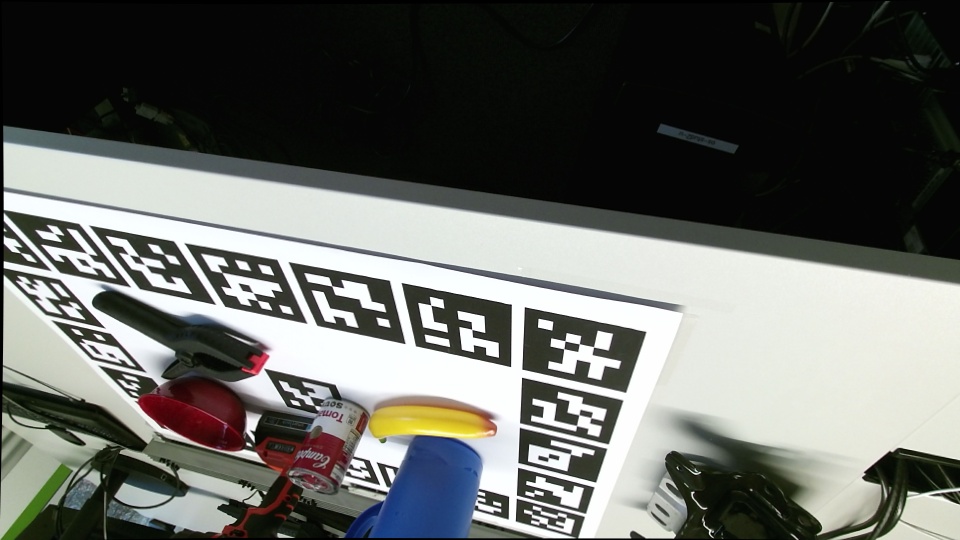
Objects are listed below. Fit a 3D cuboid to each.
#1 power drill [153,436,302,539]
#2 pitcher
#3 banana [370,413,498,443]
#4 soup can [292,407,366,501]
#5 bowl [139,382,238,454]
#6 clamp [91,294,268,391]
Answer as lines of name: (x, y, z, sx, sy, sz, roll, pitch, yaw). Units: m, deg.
power drill: (-0.325, 0.327, 0.732, 0.185, 0.186, 0.057, 7, 135, 14)
pitcher: (-0.095, 0.350, 0.658, 0.189, 0.241, 0.133, -8, 133, 27)
banana: (-0.066, 0.200, 0.648, 0.198, 0.038, 0.074, -8, 139, 29)
soup can: (-0.195, 0.236, 0.684, 0.068, 0.101, 0.068, 11, 145, 8)
bowl: (-0.410, 0.209, 0.767, 0.162, 0.055, 0.162, 10, 135, 10)
clamp: (-0.352, 0.107, 0.645, 0.203, 0.036, 0.165, 9, 132, 12)
